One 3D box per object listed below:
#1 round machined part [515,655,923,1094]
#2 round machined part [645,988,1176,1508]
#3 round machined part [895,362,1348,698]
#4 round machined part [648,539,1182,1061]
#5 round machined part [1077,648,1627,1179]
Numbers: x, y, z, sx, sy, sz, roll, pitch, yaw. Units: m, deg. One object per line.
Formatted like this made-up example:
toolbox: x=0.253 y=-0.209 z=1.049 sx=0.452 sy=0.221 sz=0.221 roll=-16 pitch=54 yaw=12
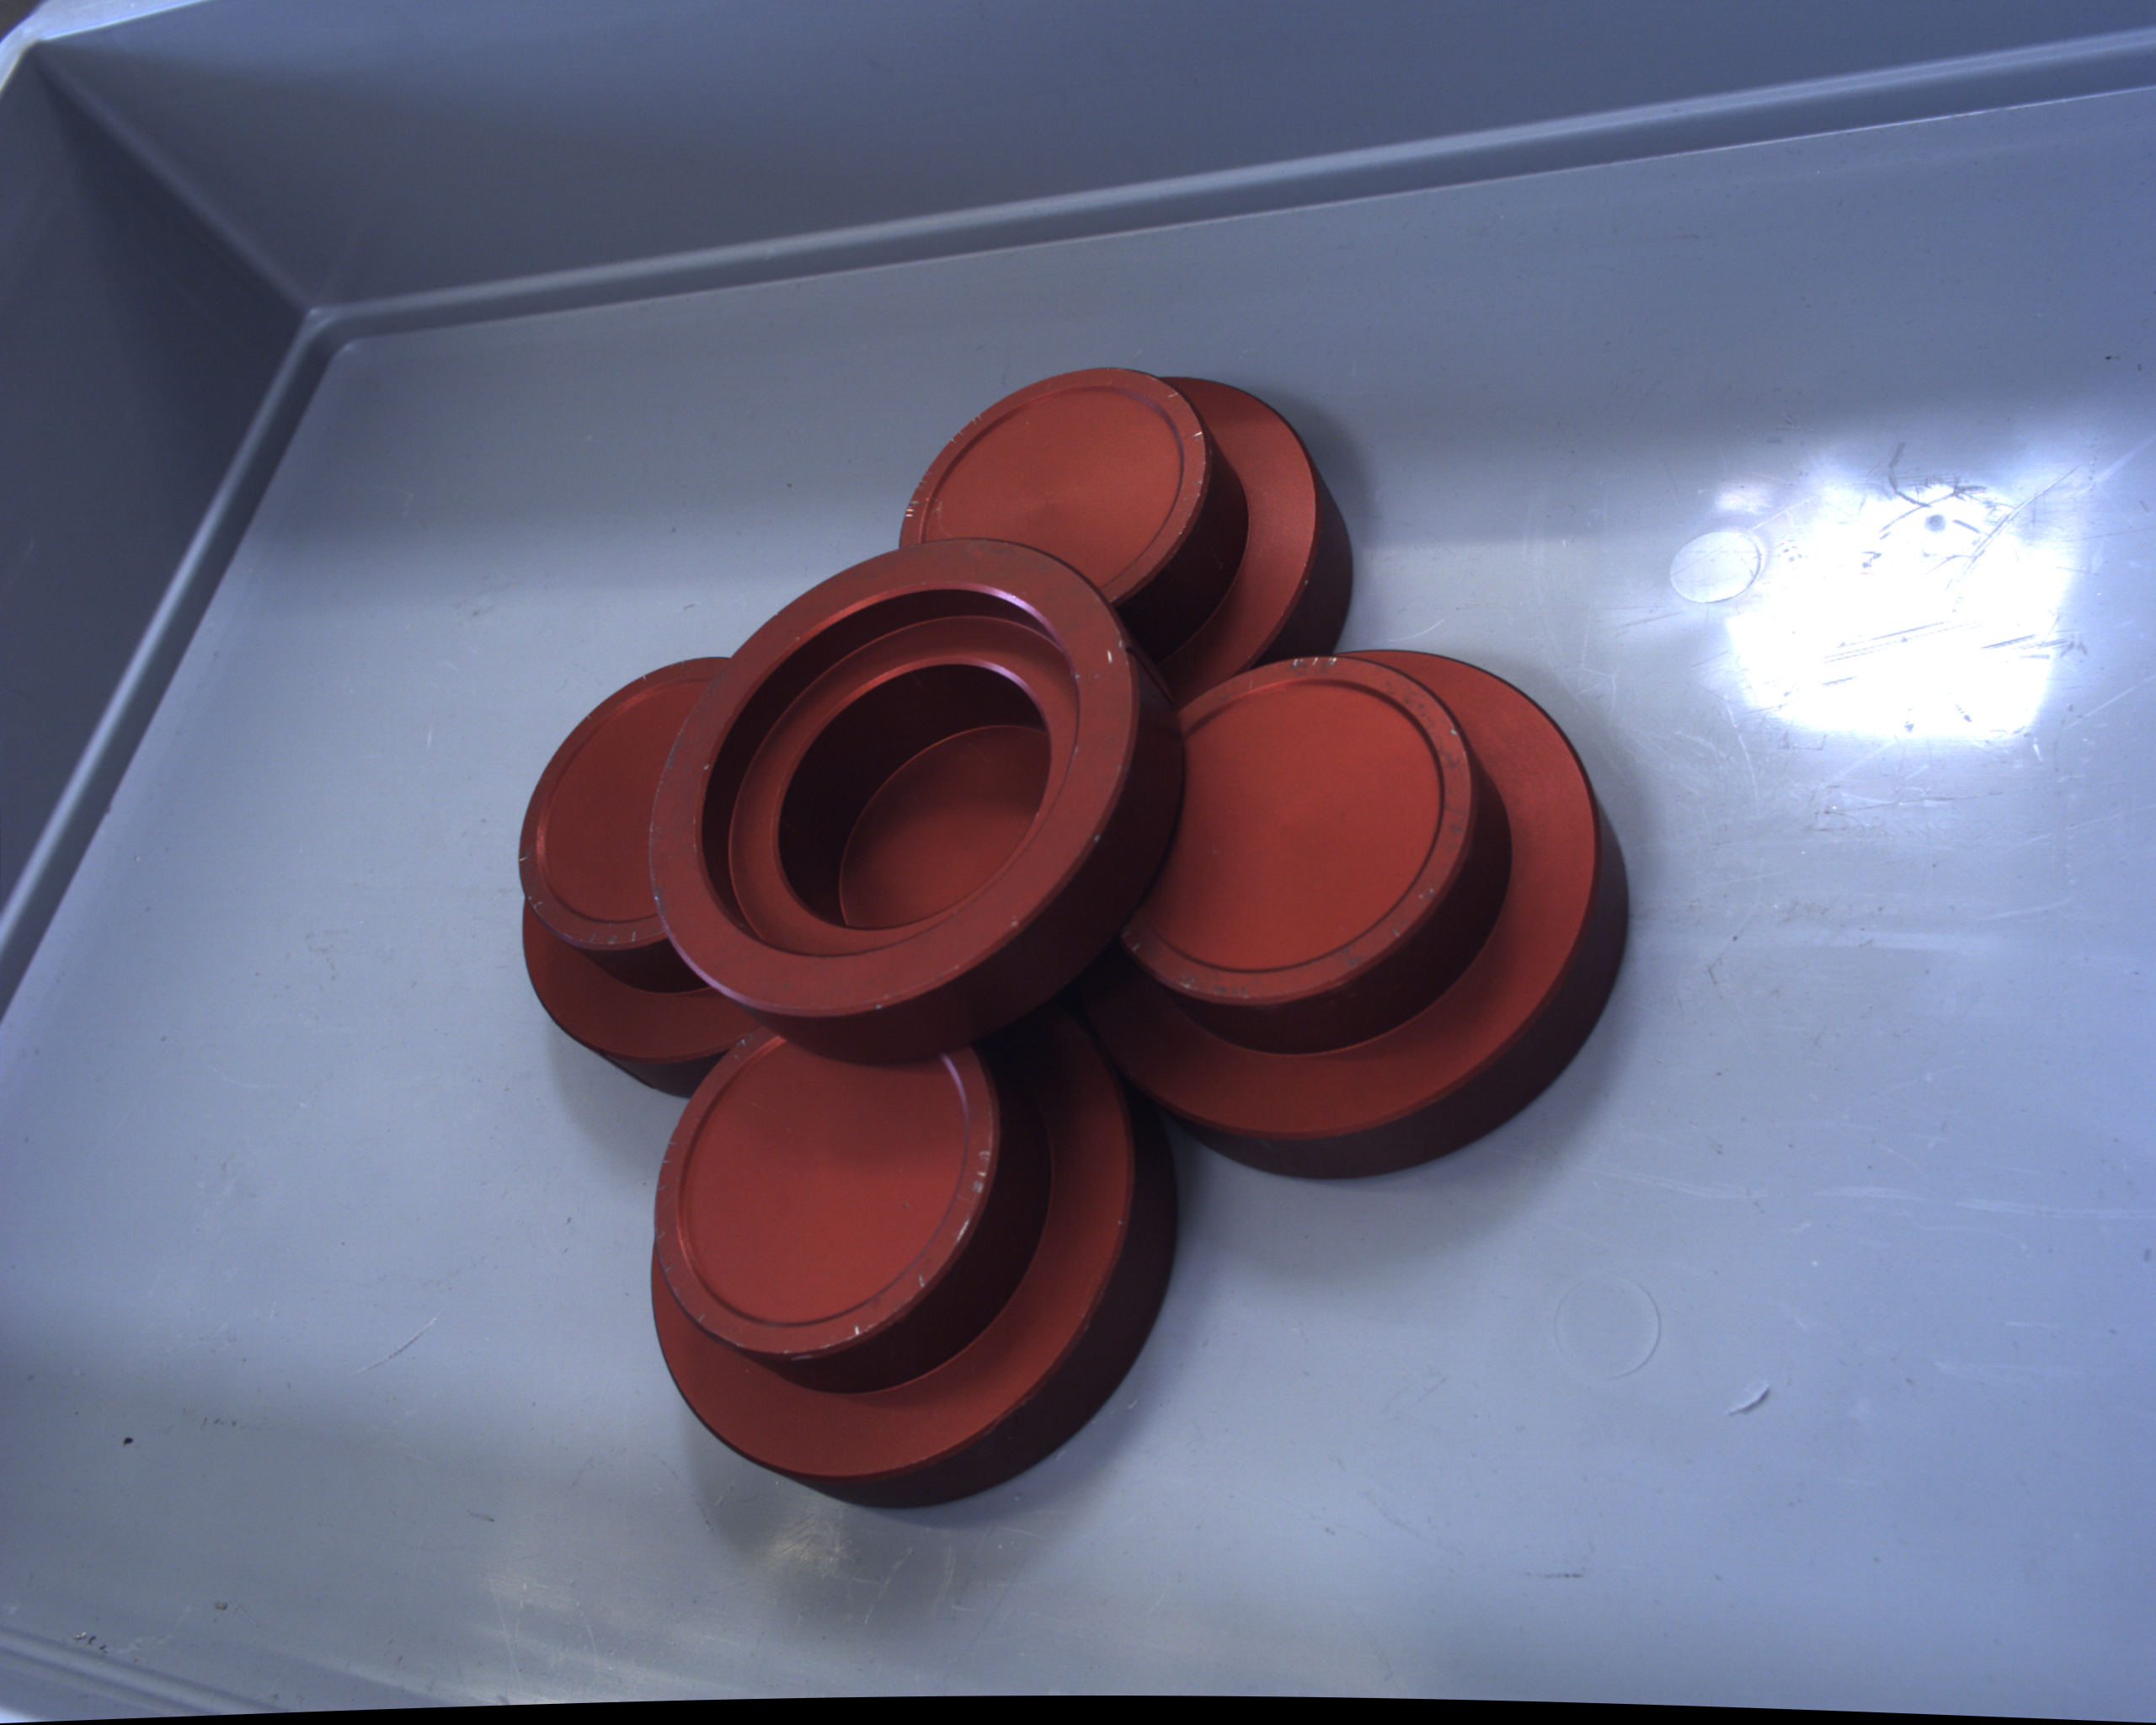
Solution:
round machined part: x=-0.076 y=-0.004 z=0.435 sx=0.098 sy=0.042 sz=0.098 roll=-13 pitch=56 yaw=21
round machined part: x=-0.036 y=0.061 z=0.373 sx=0.098 sy=0.042 sz=0.098 roll=-13 pitch=55 yaw=19
round machined part: x=0.002 y=-0.063 z=0.429 sx=0.098 sy=0.042 sz=0.098 roll=-13 pitch=56 yaw=21
round machined part: x=-0.026 y=-0.008 z=0.384 sx=0.098 sy=0.042 sz=0.098 roll=-13 pitch=56 yaw=21
round machined part: x=0.043 y=0.003 z=0.368 sx=0.098 sy=0.042 sz=0.098 roll=-13 pitch=56 yaw=21
